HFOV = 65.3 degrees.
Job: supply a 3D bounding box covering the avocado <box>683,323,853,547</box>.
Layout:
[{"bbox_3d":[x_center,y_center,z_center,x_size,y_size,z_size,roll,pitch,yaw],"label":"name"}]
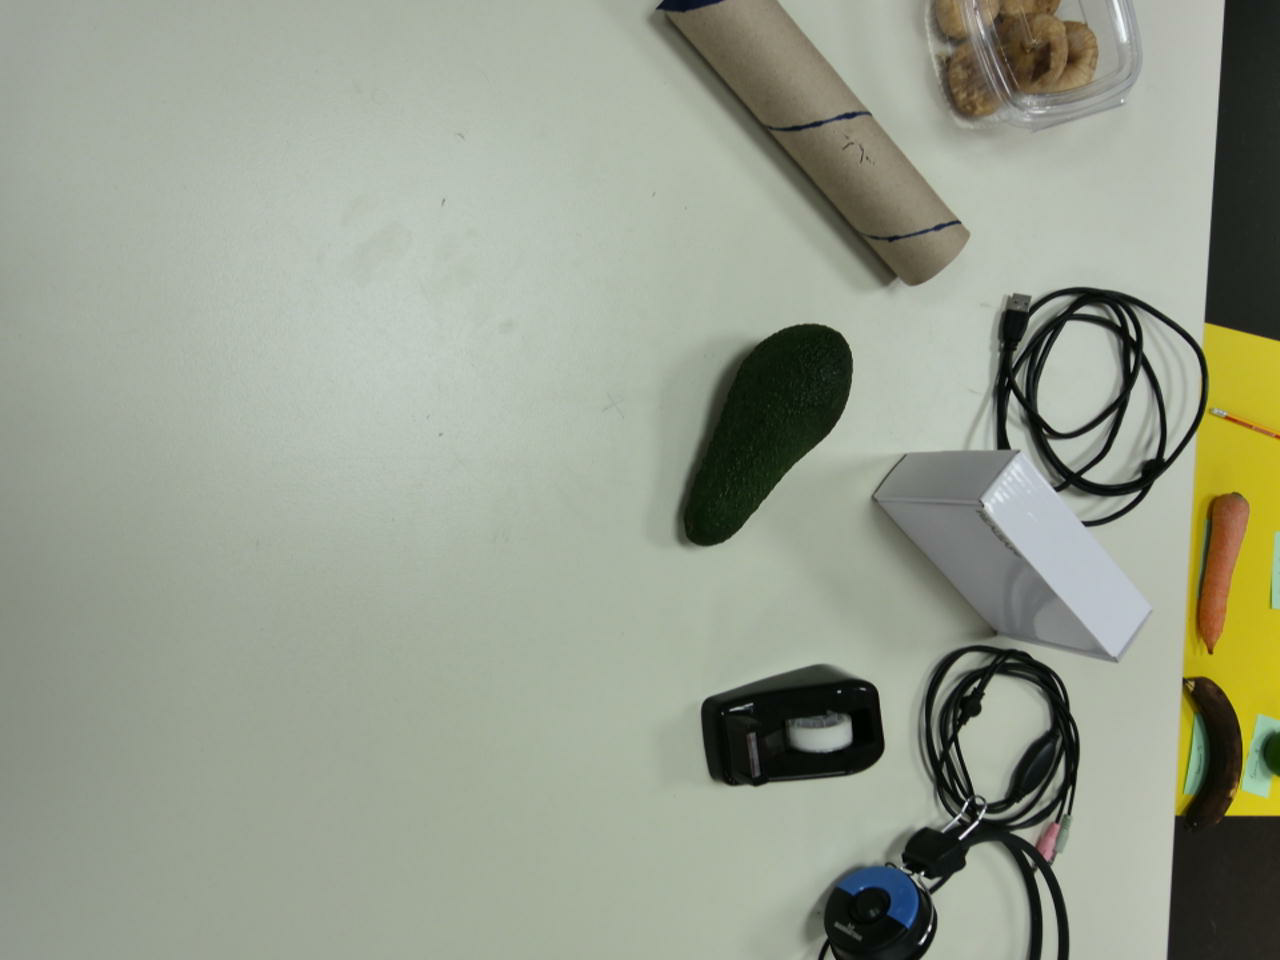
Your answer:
[{"bbox_3d":[0.075,-0.023,0.557,0.063,0.067,0.141,22,83,-21],"label":"avocado"}]
